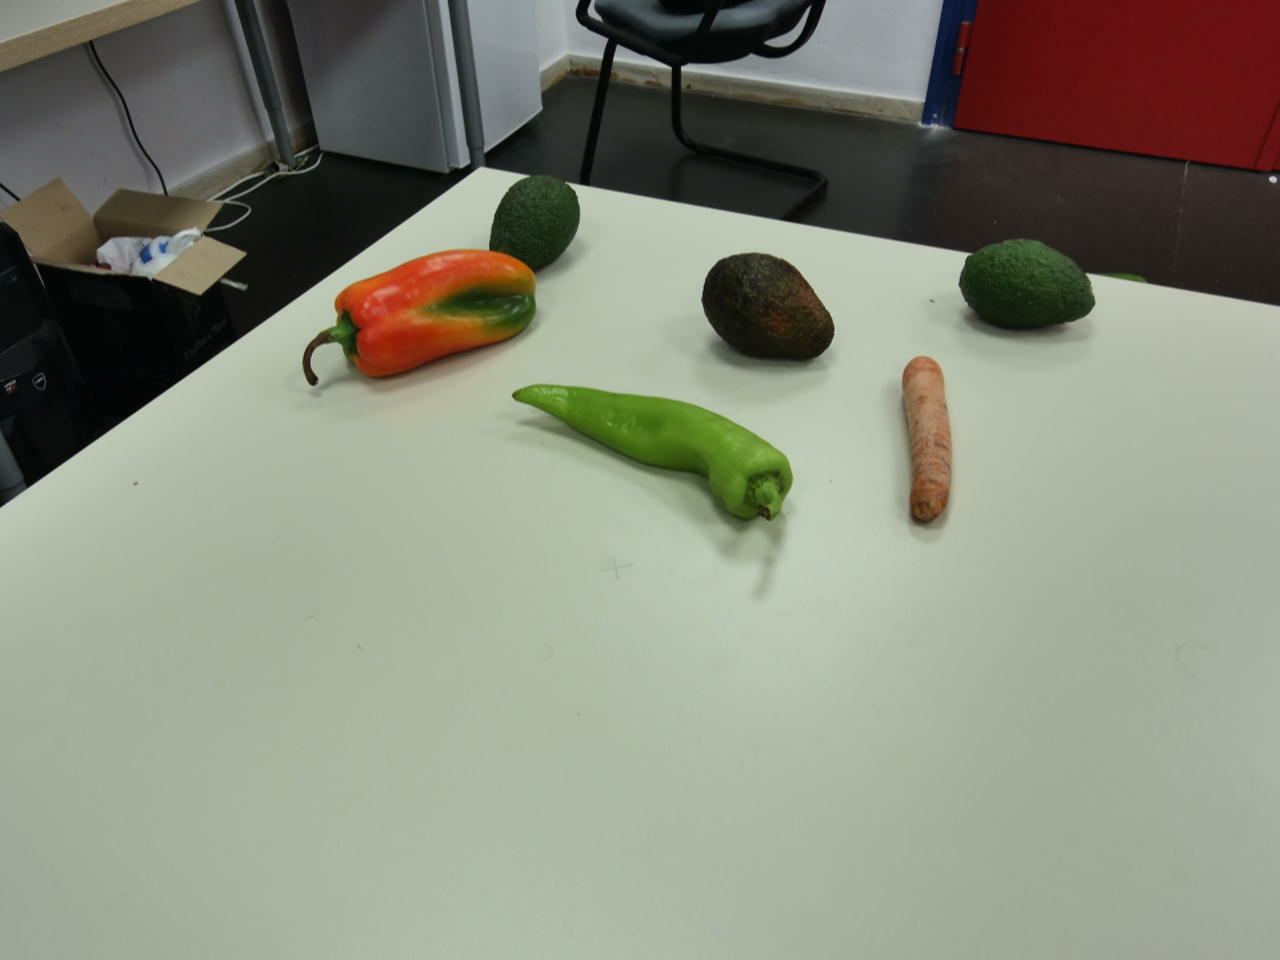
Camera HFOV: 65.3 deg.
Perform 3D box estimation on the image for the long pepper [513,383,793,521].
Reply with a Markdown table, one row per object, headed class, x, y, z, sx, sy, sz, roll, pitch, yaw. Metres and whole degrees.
| class | x | y | z | sx | sy | sz | roll | pitch | yaw |
| --- | --- | --- | --- | --- | --- | --- | --- | --- | --- |
| long pepper | 0.013 | -0.028 | 0.611 | 0.205 | 0.045 | 0.065 | 28 | 47 | 31 |
